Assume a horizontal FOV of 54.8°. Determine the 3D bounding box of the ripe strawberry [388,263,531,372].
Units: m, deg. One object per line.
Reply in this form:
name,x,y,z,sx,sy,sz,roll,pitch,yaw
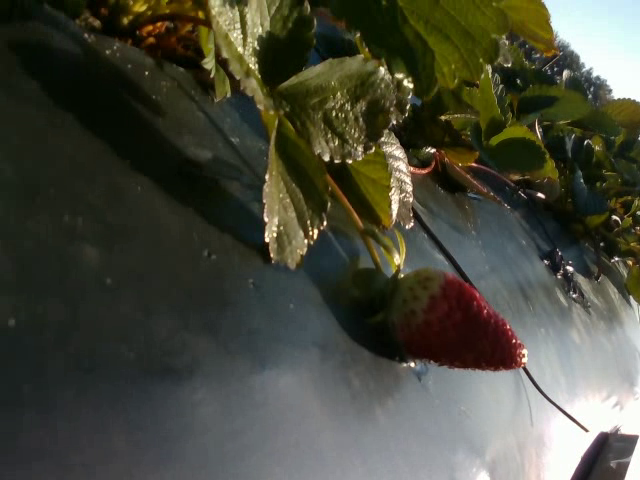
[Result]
ripe strawberry,0.036,0.022,0.156,0.041,0.031,0.028,24,39,16
